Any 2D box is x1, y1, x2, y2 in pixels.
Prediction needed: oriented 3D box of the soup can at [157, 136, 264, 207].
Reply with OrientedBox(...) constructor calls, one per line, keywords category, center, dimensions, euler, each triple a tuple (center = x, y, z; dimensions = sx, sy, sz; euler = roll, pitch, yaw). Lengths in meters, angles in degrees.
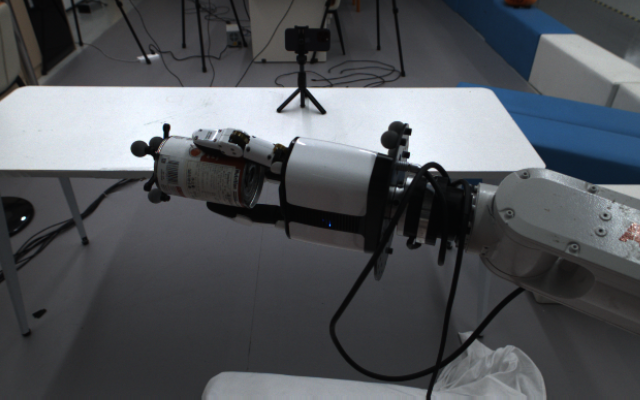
OrientedBox(category="soup can", center=(-0.117, -0.031, 0.531), dimensions=(0.101, 0.067, 0.067), euler=(9, 35, 10))
